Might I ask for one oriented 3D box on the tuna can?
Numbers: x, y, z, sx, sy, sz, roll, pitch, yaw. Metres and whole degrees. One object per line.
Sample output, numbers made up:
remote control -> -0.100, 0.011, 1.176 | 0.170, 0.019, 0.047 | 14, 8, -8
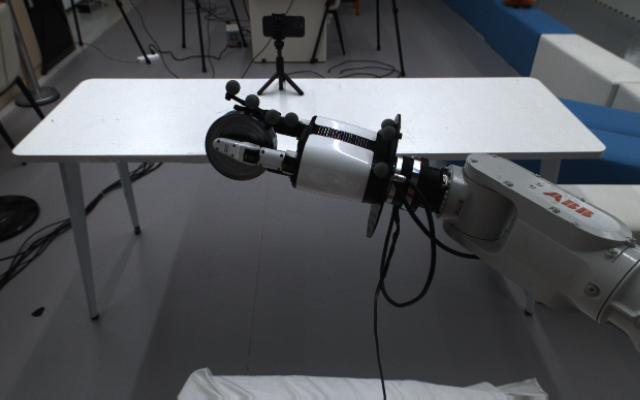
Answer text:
tuna can -> -0.097, -0.069, 0.609 | 0.085, 0.085, 0.034 | 4, 20, 3
